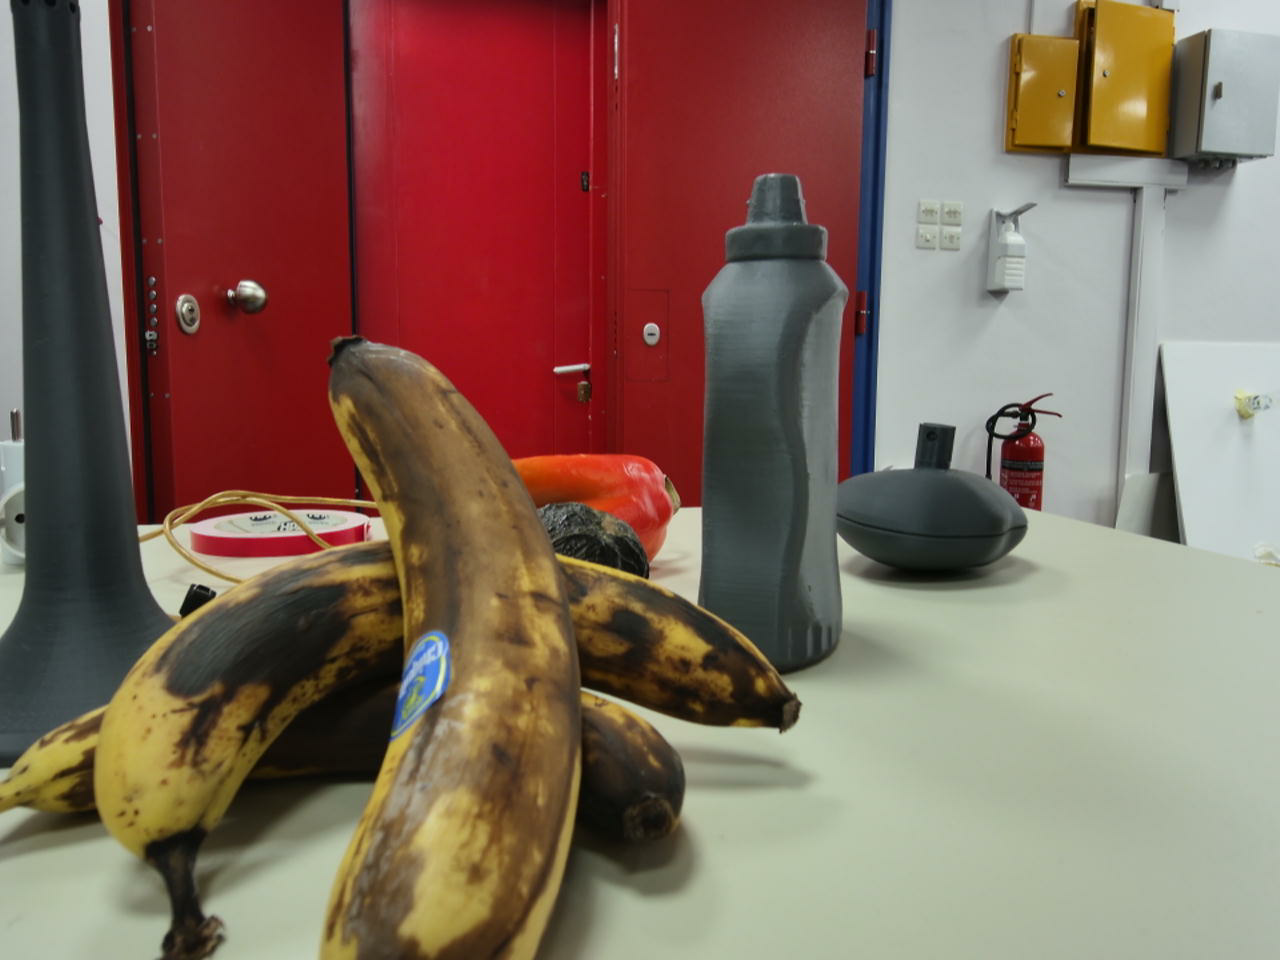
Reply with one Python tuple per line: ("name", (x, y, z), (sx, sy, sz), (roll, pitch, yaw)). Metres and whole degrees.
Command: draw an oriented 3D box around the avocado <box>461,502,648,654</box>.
("avocado", (-0.037, 0.041, 0.425), (0.092, 0.062, 0.062), (-4, 6, -37))
